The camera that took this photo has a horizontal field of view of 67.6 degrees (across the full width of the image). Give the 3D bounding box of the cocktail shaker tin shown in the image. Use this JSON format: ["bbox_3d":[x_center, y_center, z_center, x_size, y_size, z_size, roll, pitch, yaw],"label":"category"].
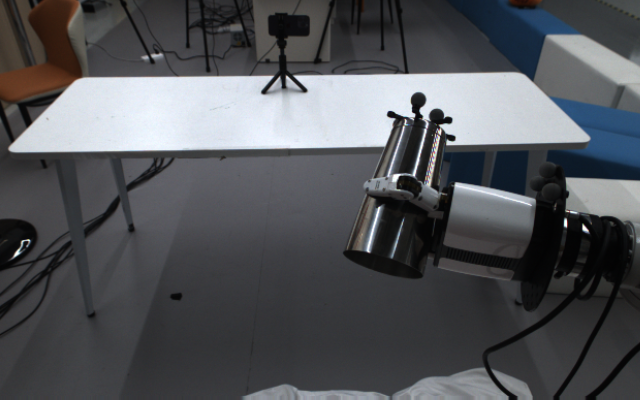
[{"bbox_3d":[0.096,-0.004,0.560,0.093,0.093,0.170,14,73,16],"label":"cocktail shaker tin"}]
